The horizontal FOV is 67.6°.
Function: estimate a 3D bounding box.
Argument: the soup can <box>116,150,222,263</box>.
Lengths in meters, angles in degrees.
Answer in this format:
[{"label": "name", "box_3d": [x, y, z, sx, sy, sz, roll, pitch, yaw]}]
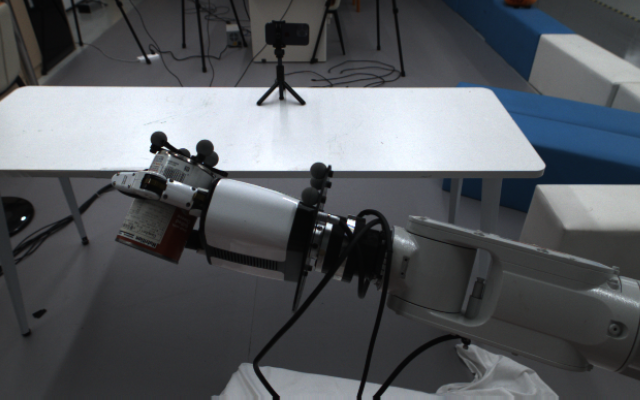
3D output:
[{"label": "soup can", "box_3d": [-0.159, 0.009, 0.507, 0.067, 0.067, 0.101, 16, 75, 19]}]
